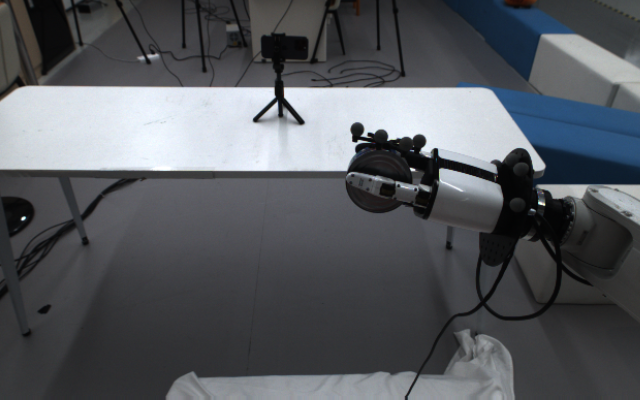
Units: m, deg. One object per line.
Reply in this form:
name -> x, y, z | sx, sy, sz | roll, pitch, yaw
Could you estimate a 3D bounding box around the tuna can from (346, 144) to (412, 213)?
tuna can -> 0.078, -0.032, 0.635 | 0.085, 0.085, 0.034 | 5, 19, 4
